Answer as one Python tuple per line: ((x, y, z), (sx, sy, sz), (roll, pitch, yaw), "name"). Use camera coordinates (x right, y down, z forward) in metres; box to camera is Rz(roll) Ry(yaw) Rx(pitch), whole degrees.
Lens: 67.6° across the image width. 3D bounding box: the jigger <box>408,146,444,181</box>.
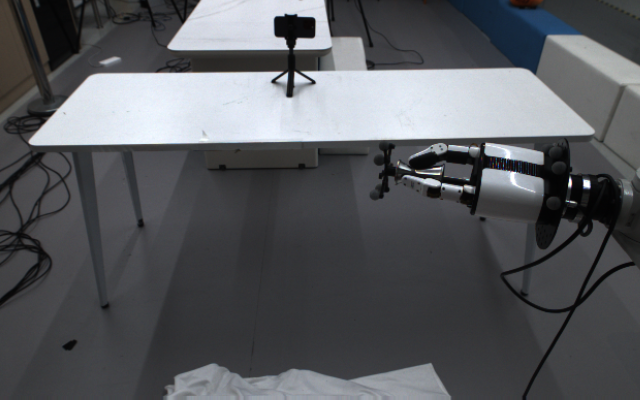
((0.156, -0.041, 0.727), (0.071, 0.043, 0.043), (9, 35, 17), "jigger")
